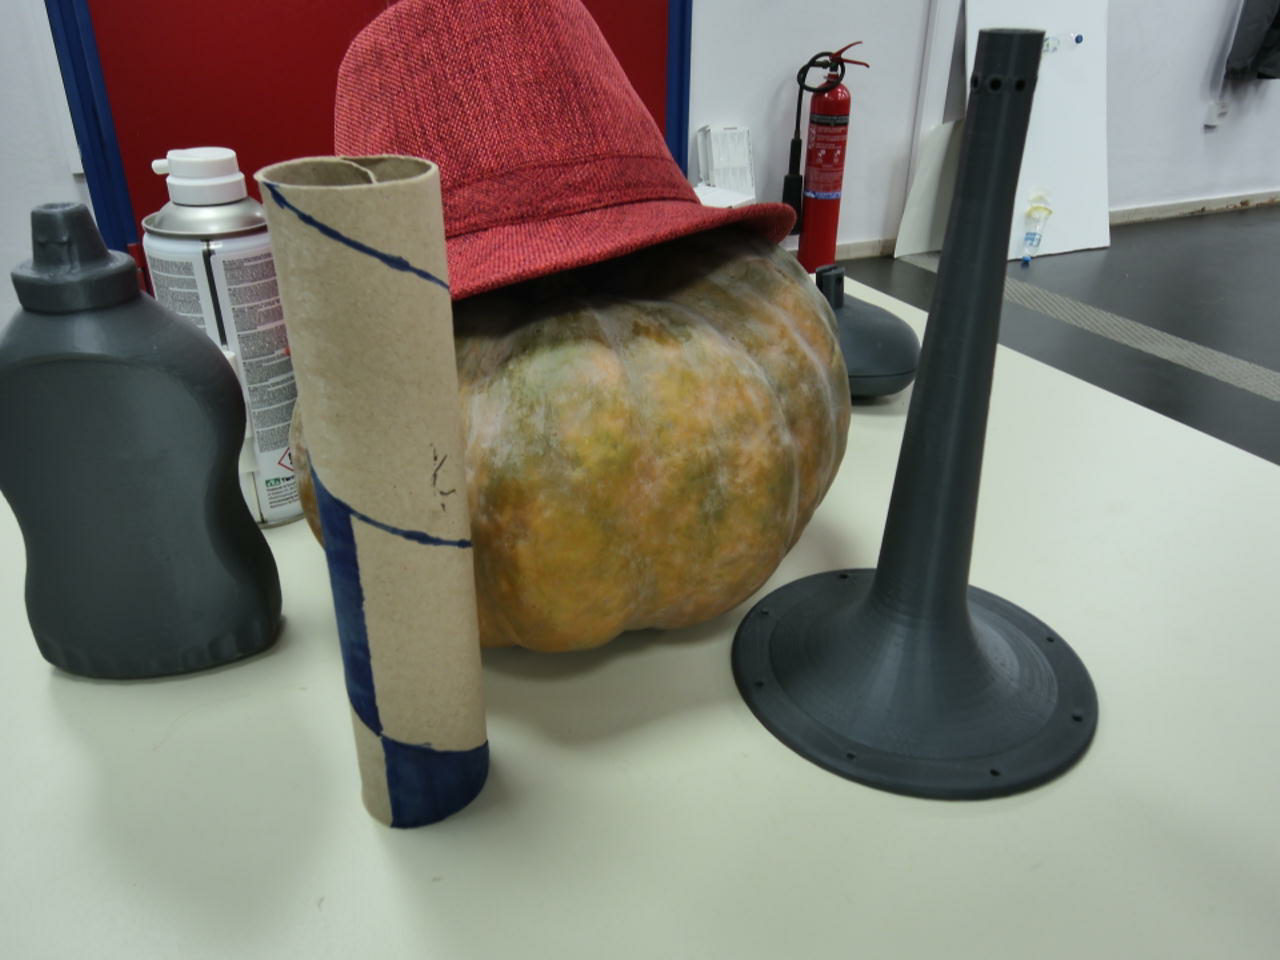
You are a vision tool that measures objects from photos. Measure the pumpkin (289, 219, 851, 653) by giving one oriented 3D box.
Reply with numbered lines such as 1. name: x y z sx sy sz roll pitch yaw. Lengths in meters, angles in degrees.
1. pumpkin: -0.033 -0.027 0.458 0.252 0.169 0.251 0 26 0
